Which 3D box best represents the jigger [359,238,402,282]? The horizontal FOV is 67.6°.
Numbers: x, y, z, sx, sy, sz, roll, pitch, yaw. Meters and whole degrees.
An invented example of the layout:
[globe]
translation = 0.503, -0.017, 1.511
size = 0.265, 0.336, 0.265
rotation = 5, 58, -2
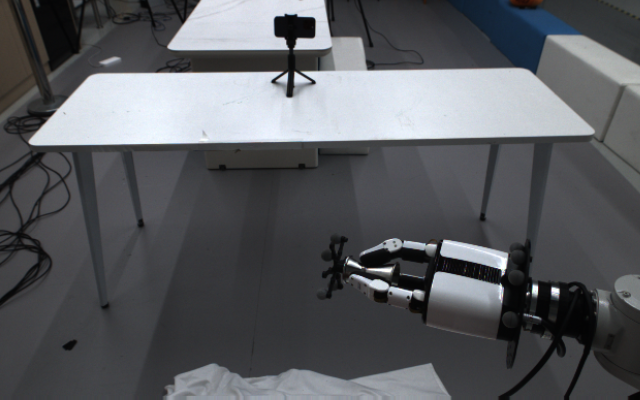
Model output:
[jigger]
translation = 0.075, 0.096, 0.651
size = 0.071, 0.043, 0.043
rotation = 8, 34, 23
